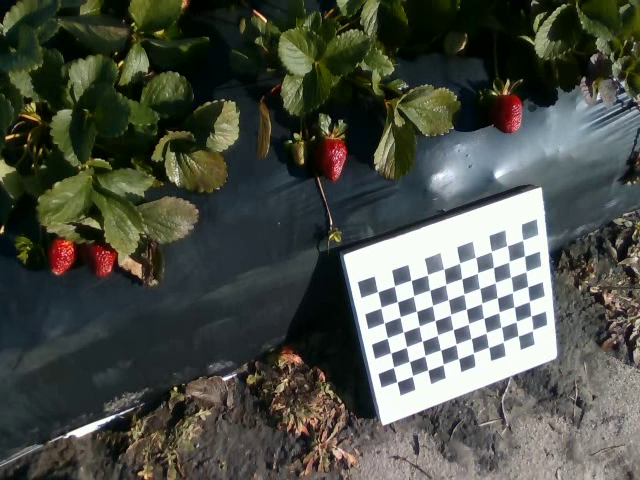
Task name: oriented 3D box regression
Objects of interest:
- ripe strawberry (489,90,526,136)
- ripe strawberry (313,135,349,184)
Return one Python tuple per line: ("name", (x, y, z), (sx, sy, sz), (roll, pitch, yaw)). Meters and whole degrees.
("ripe strawberry", (0.209, -0.136, 0.758), (0.042, 0.050, 0.043), (16, -35, -26))
("ripe strawberry", (0.012, -0.086, 0.719), (0.041, 0.053, 0.043), (-9, -22, -19))
